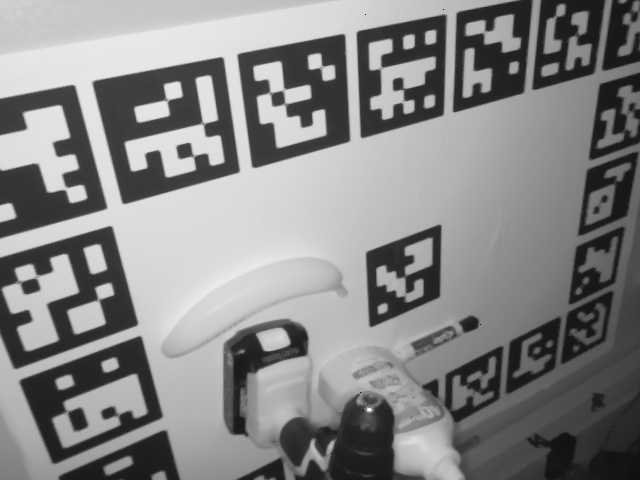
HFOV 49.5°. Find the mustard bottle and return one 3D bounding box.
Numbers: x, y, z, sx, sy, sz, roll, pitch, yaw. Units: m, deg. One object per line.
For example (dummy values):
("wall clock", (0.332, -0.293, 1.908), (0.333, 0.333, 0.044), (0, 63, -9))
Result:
("mustard bottle", (0.084, 0.172, 0.725), (0.097, 0.190, 0.058), (-8, 116, -25))

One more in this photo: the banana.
("banana", (-0.055, 0.038, 0.684), (0.200, 0.038, 0.074), (-12, 115, -27))

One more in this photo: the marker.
("marker", (0.159, 0.110, 0.846), (0.123, 0.019, 0.019), (-17, 118, -23))

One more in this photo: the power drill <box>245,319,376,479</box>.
("power drill", (-0.011, 0.154, 0.643), (0.058, 0.186, 0.183), (-5, 116, -25))
